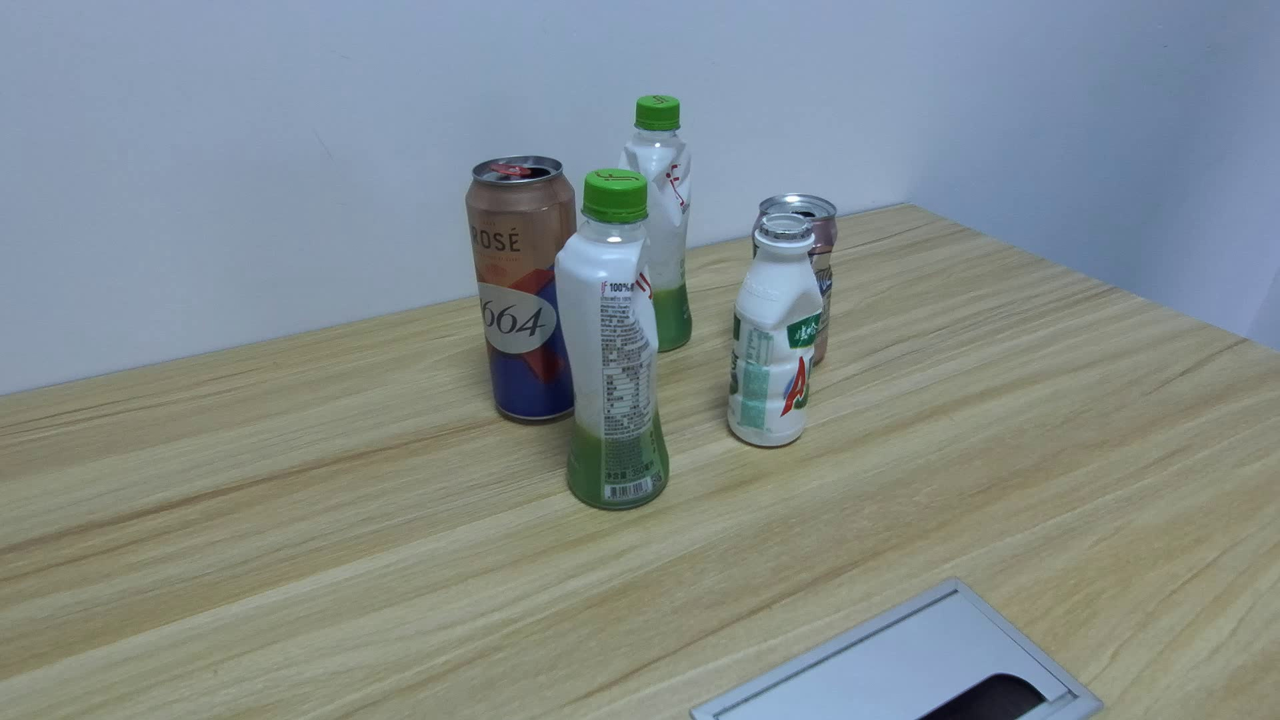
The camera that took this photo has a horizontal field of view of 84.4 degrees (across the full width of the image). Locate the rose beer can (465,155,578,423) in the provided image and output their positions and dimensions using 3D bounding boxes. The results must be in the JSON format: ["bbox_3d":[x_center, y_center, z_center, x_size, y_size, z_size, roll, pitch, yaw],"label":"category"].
[{"bbox_3d":[-0.071,-0.042,0.468,0.068,0.169,0.068,0,31,0],"label":"rose beer can"}]

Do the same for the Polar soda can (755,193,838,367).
[{"bbox_3d":[0.114,-0.058,0.537,0.074,0.122,0.067,-9,29,-21],"label":"Polar soda can"}]

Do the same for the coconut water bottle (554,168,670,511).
[{"bbox_3d":[-0.014,-0.008,0.389,0.069,0.187,0.069,0,29,0],"label":"coconut water bottle"}]

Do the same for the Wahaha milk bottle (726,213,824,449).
[{"bbox_3d":[0.084,-0.016,0.435,0.056,0.148,0.056,0,31,0],"label":"Wahaha milk bottle"}]

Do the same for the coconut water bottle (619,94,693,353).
[{"bbox_3d":[0.012,-0.100,0.538,0.067,0.187,0.067,0,31,0],"label":"coconut water bottle"}]
